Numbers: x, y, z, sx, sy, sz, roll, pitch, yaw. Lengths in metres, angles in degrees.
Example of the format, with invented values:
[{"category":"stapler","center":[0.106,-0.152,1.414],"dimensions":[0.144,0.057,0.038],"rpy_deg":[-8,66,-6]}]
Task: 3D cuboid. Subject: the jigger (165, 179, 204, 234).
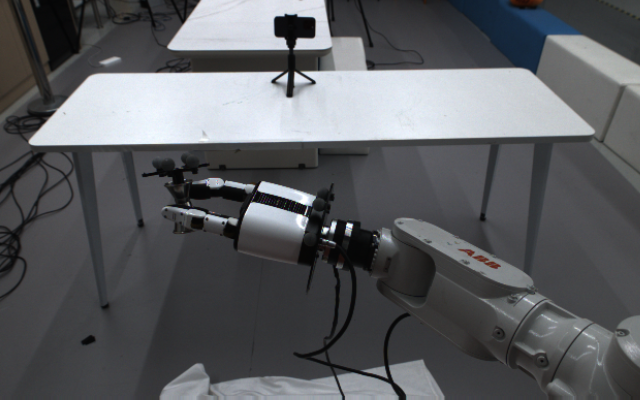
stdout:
[{"category":"jigger","center":[-0.187,0.008,0.673],"dimensions":[0.043,0.071,0.043],"rpy_deg":[-8,14,2]}]
